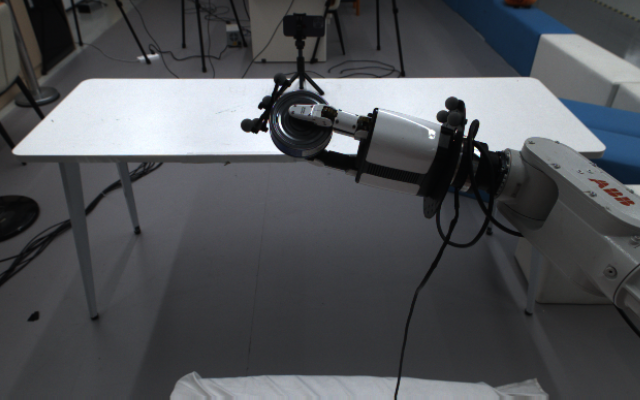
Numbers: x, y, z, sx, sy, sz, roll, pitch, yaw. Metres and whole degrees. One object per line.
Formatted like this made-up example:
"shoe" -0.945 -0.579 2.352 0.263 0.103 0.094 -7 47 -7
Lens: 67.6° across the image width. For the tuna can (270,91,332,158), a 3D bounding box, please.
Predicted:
"tuna can" -0.021 -0.097 0.637 0.085 0.034 0.085 1 77 -6
